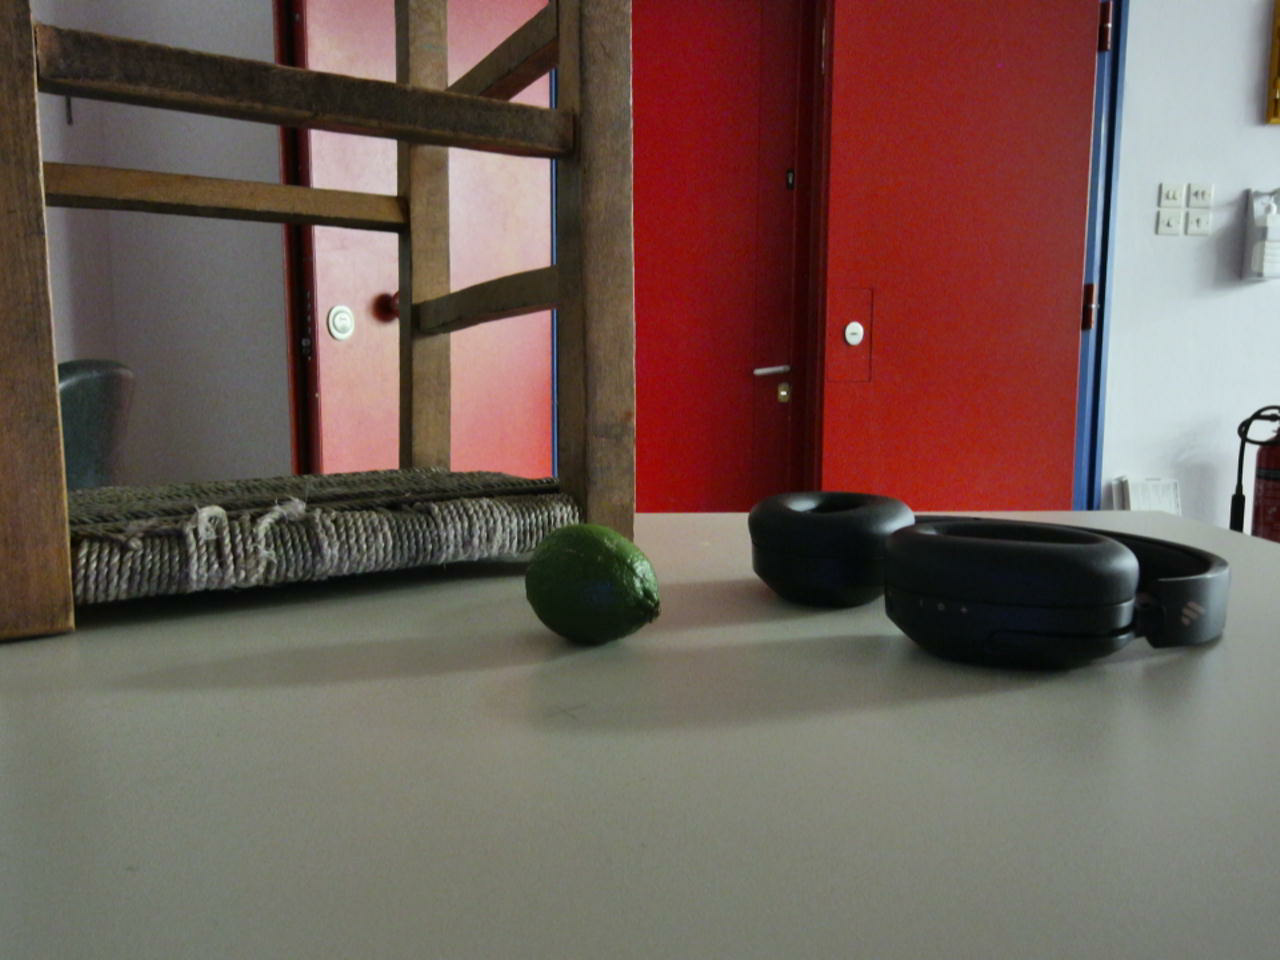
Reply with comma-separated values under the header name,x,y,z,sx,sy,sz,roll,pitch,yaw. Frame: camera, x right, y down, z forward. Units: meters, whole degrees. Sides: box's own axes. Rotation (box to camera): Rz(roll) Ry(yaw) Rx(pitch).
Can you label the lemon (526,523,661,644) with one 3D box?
name,x,y,z,sx,sy,sz,roll,pitch,yaw
lemon,-0.021,0.045,0.436,0.057,0.051,0.054,-1,4,-4
